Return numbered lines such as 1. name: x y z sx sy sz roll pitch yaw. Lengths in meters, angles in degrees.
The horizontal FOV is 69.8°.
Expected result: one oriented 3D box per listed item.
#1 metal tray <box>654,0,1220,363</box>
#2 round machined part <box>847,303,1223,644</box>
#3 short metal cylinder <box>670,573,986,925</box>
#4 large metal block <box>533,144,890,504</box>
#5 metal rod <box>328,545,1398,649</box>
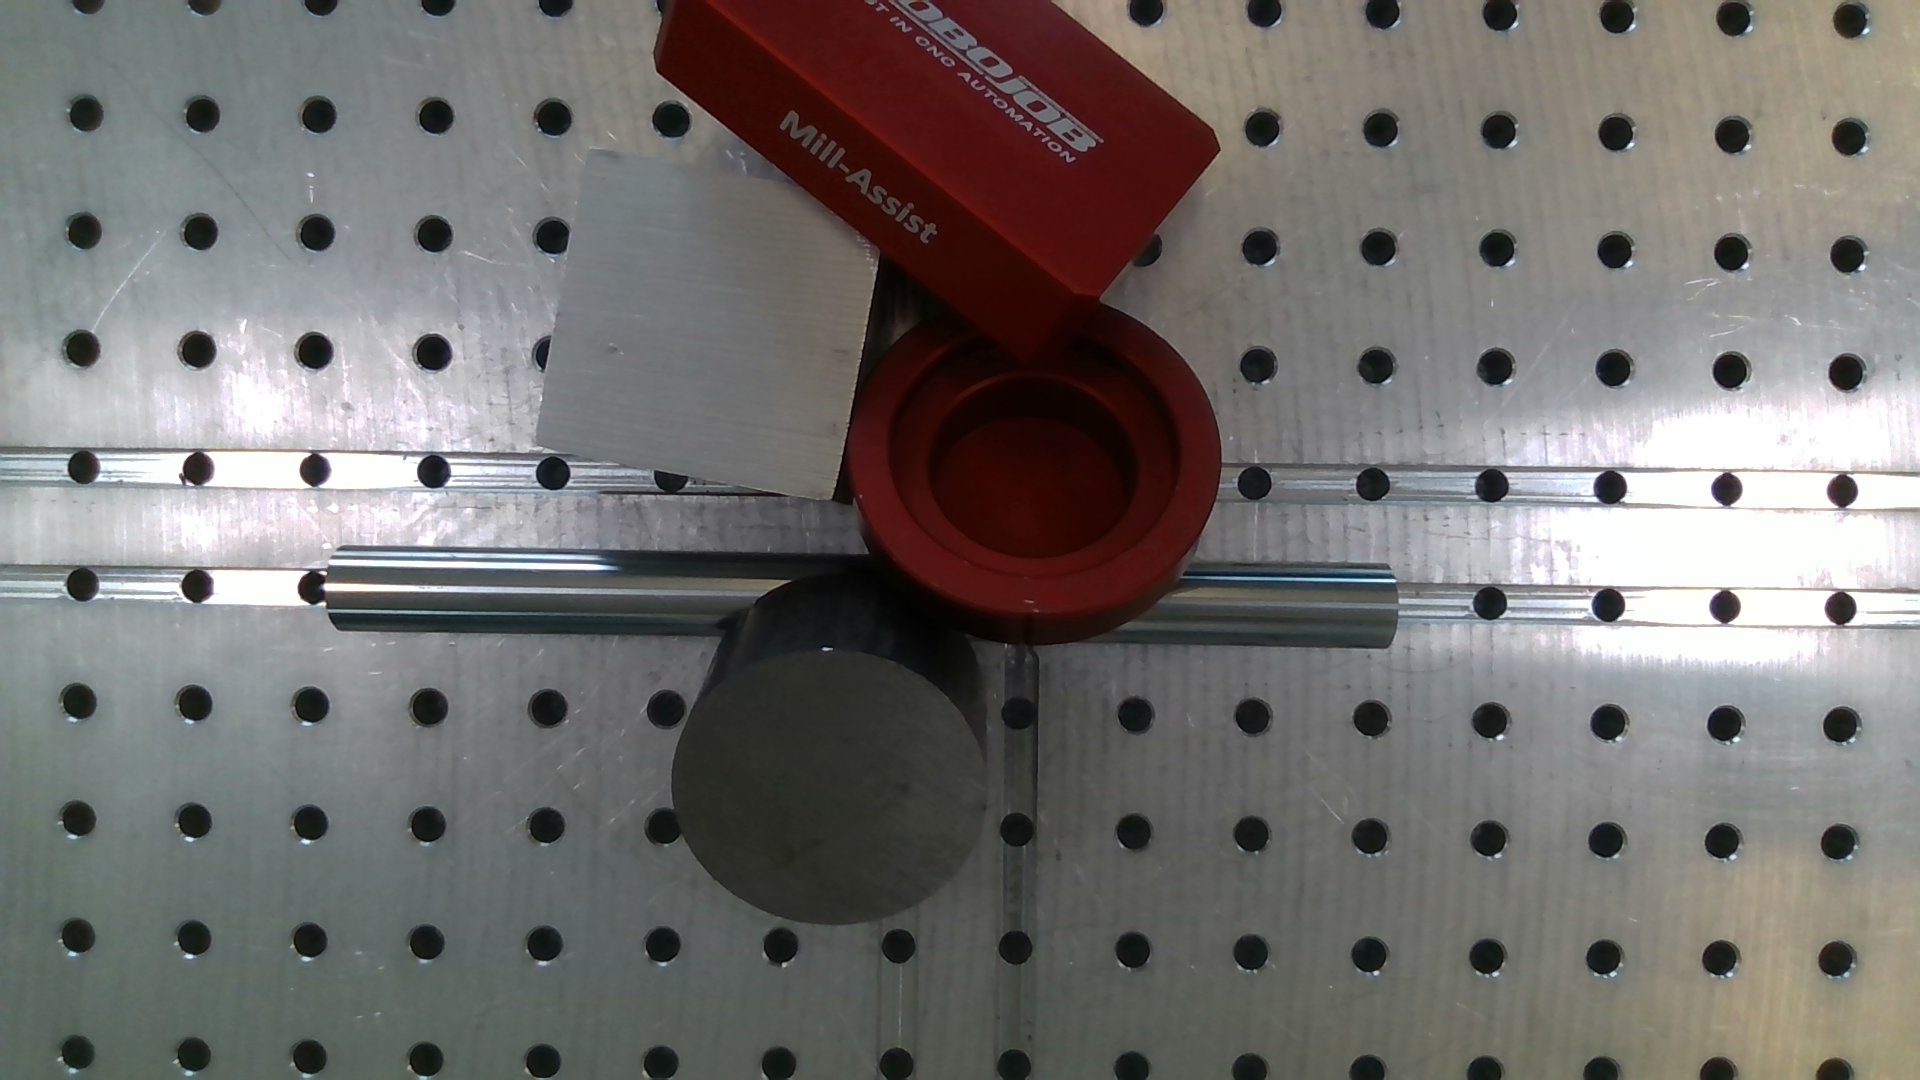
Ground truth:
1. metal tray: -0.003 -0.117 0.370 0.130 0.030 0.090 38 52 0
2. round machined part: 0.019 -0.017 0.376 0.098 0.042 0.098 0 64 -1
3. short metal cylinder: -0.033 0.055 0.372 0.080 0.050 0.080 0 110 0
4. large metal block: -0.065 -0.057 0.385 0.080 0.050 0.080 10 90 0
5. metal rod: -0.027 0.016 0.398 0.300 0.025 0.025 1 90 0
